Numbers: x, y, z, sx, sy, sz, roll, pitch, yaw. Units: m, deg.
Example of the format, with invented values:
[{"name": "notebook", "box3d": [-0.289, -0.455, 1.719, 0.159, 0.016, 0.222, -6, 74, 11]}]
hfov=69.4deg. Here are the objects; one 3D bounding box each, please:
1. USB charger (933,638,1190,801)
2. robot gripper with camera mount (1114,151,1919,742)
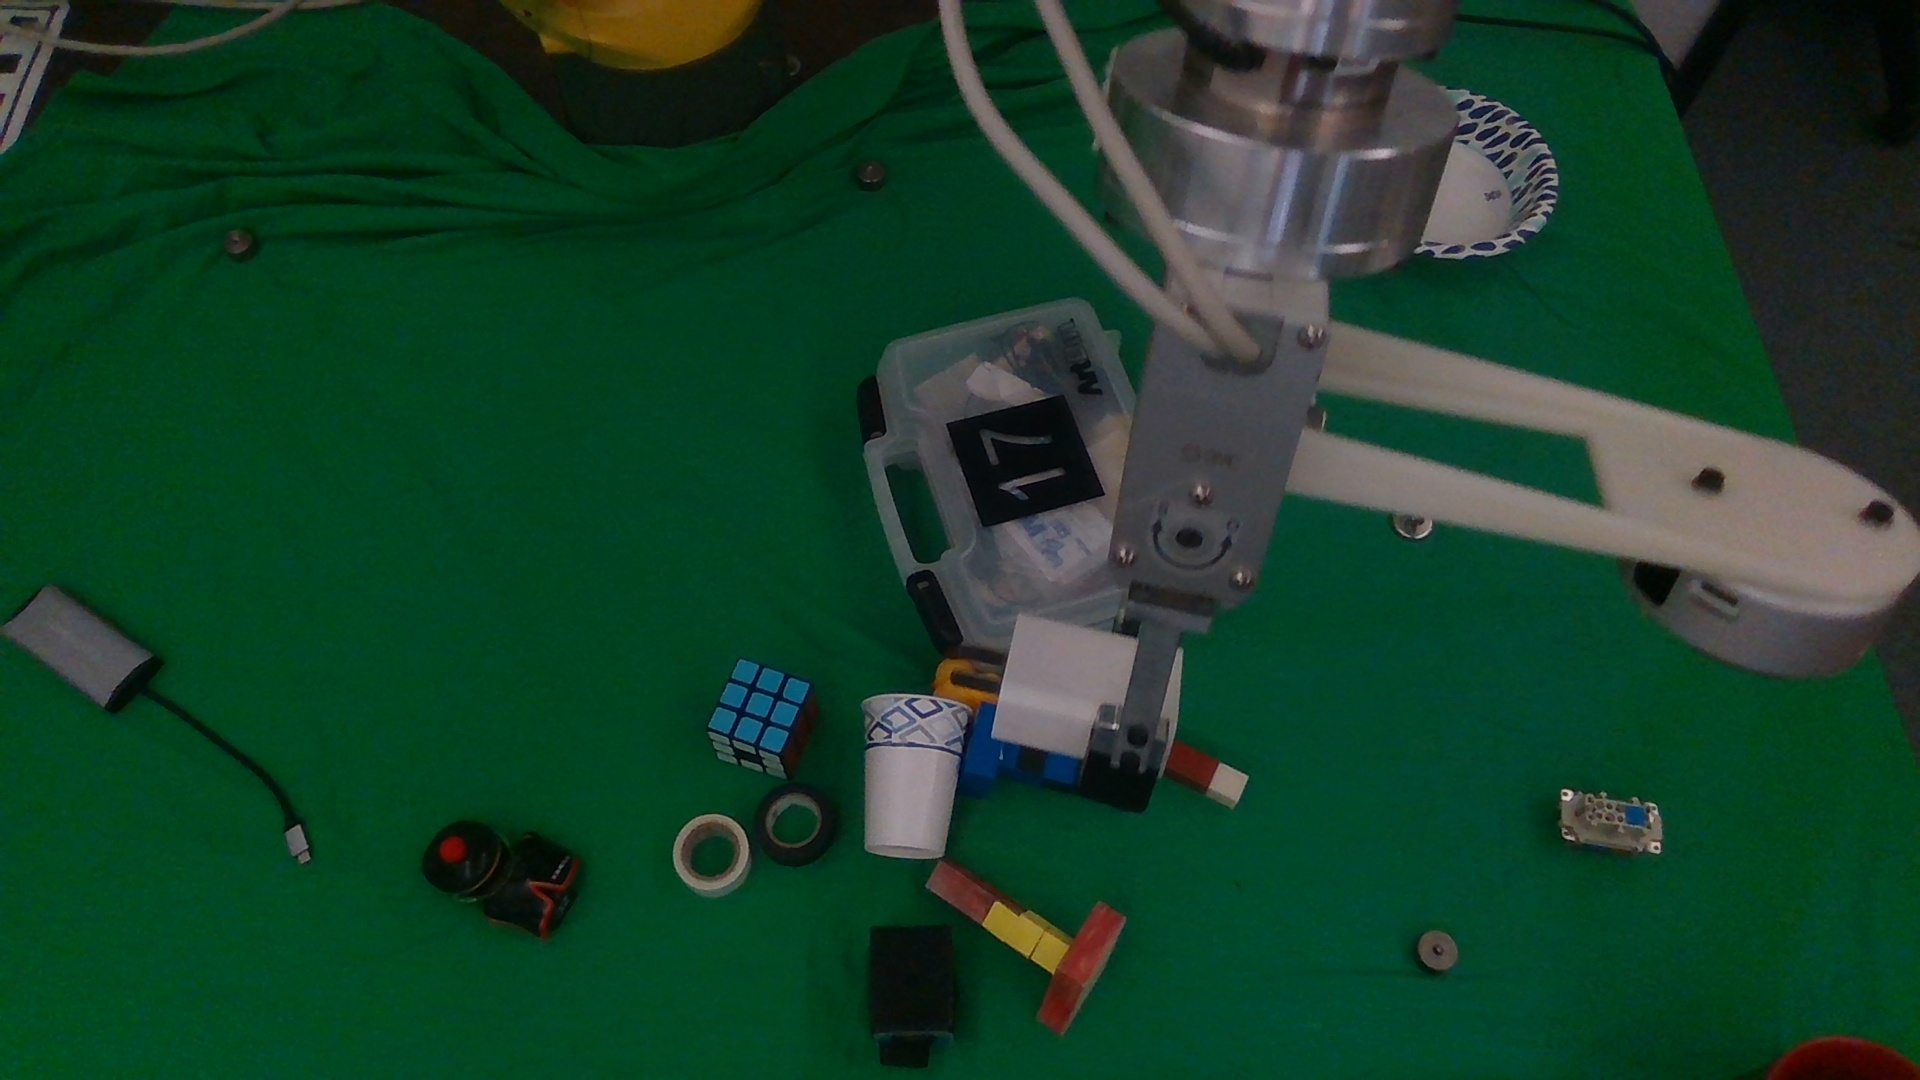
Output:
[{"name": "USB charger", "box3d": [0.030, 0.051, 0.413, 0.075, 0.029, 0.044, 8, 37, 4]}, {"name": "robot gripper with camera mount", "box3d": [0.138, 0.003, 0.373, 0.193, 0.158, 0.119, 8, 36, 5]}]
